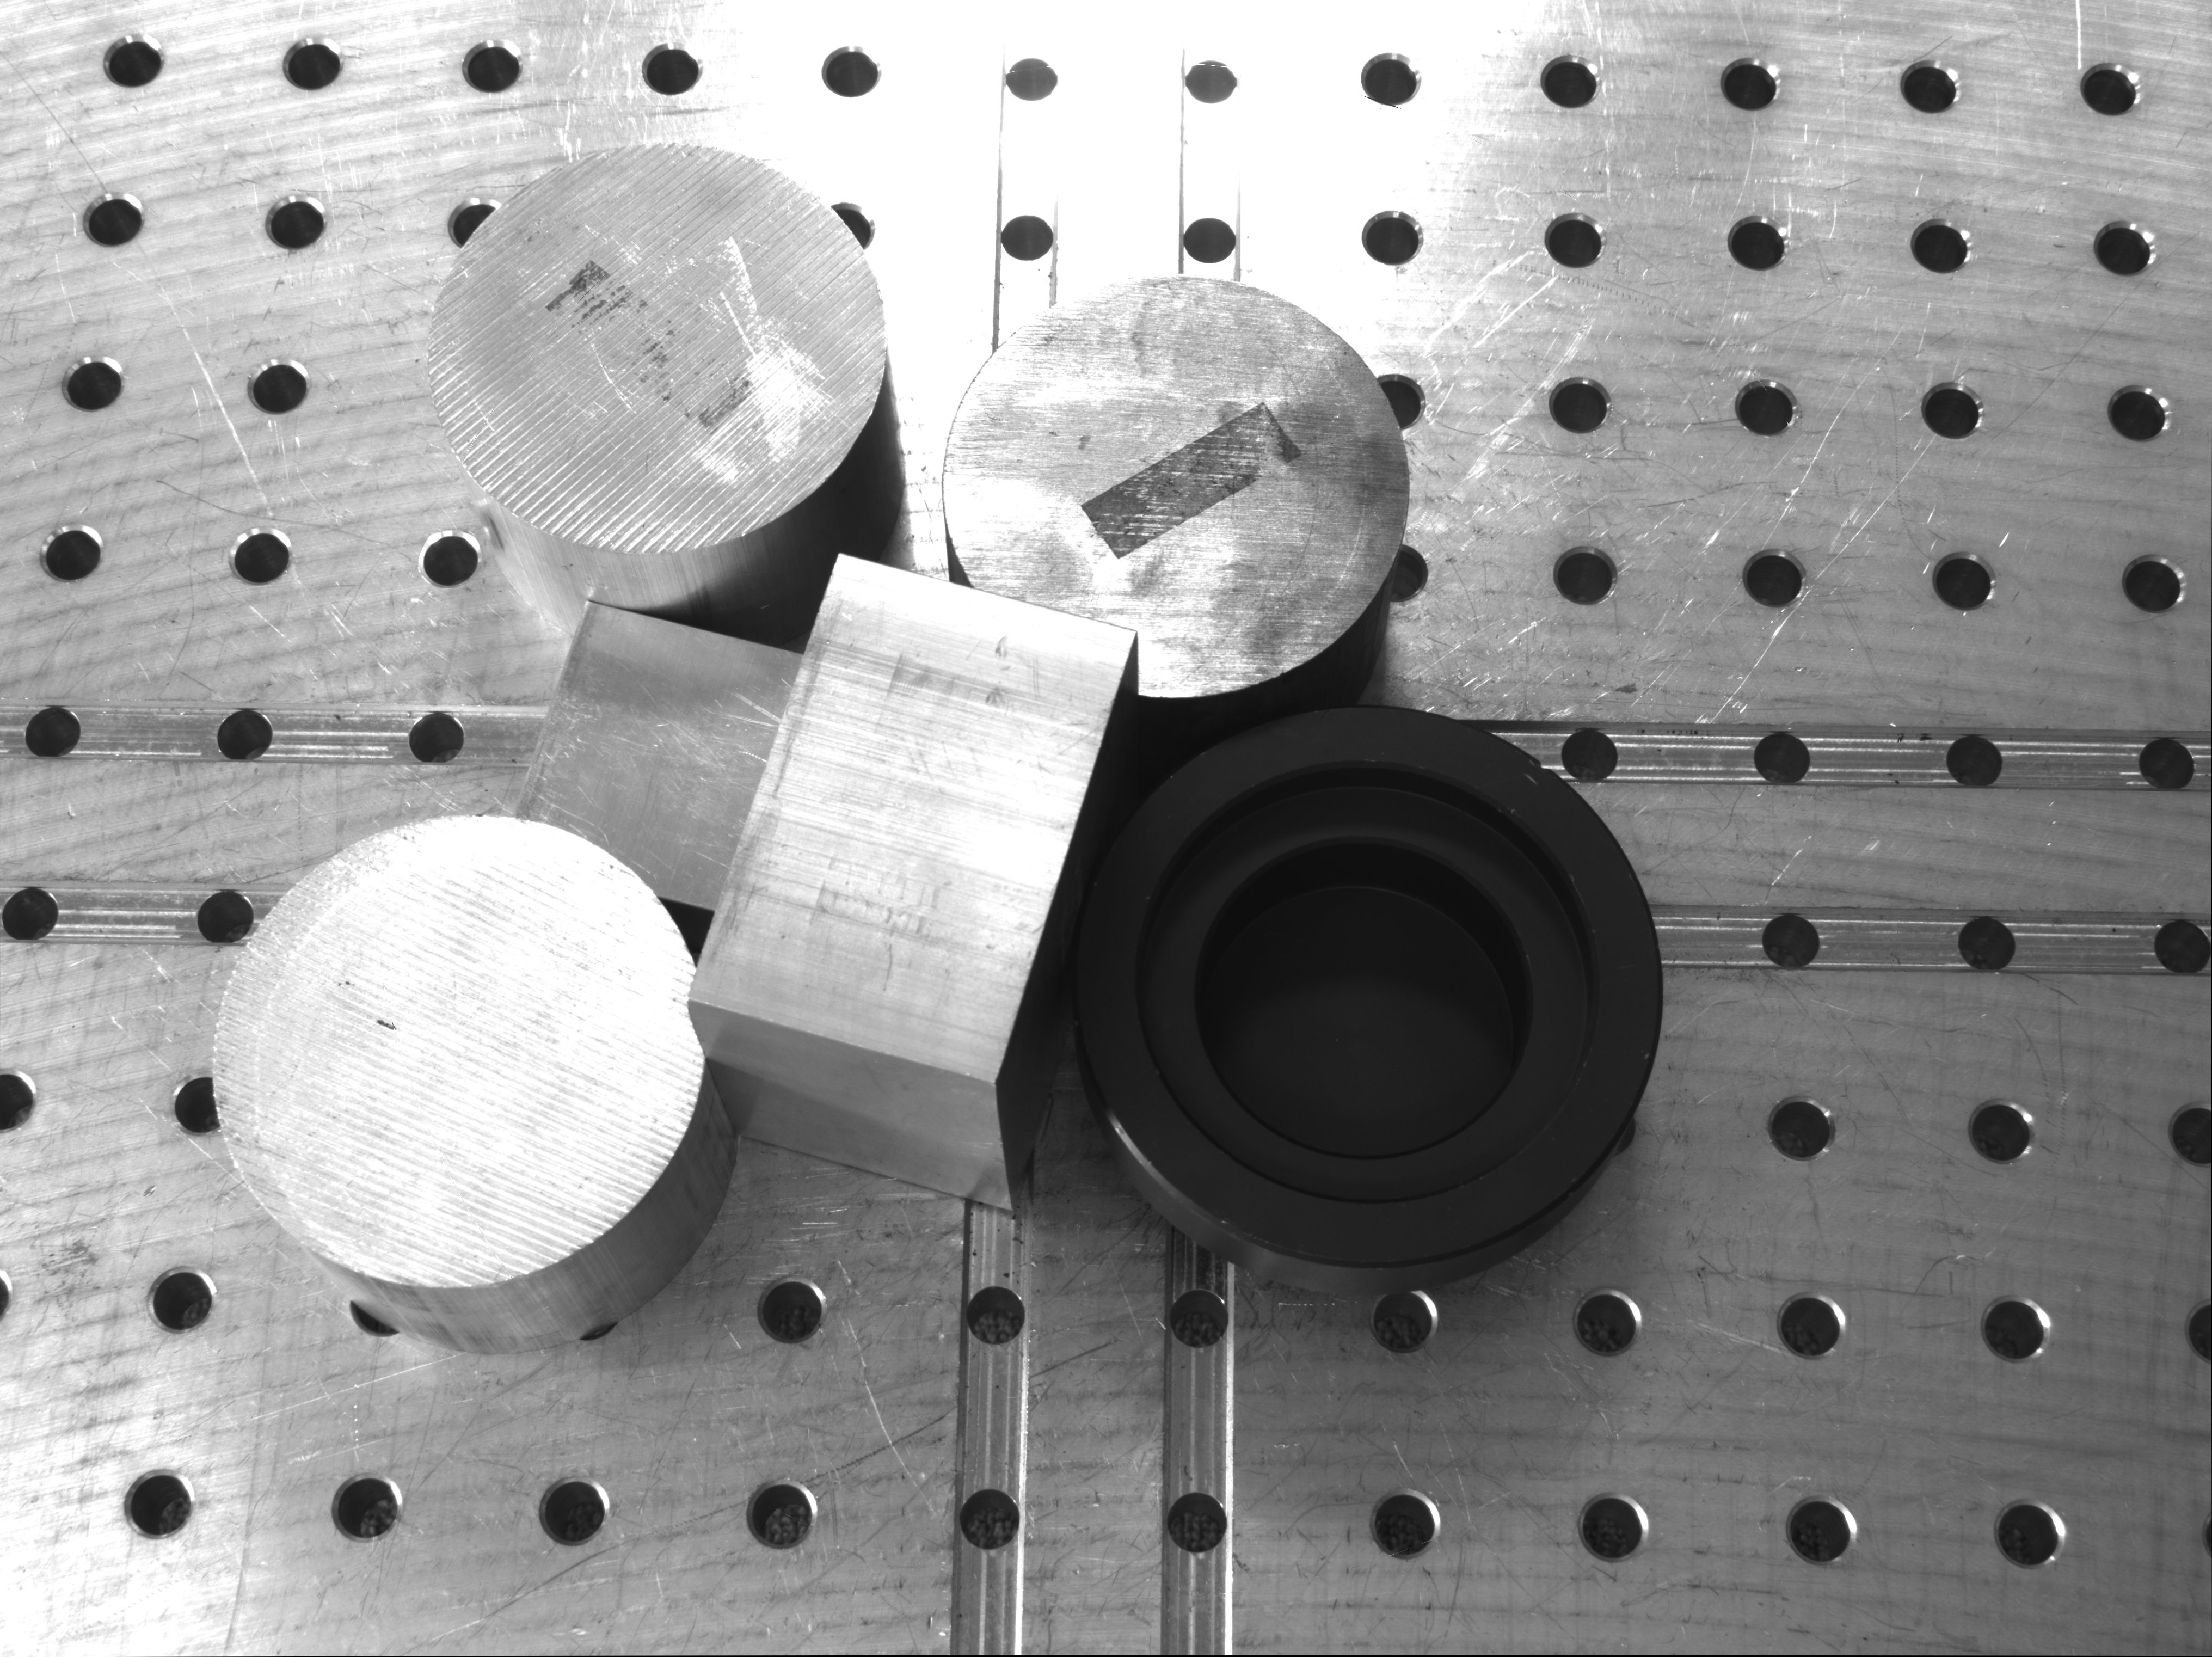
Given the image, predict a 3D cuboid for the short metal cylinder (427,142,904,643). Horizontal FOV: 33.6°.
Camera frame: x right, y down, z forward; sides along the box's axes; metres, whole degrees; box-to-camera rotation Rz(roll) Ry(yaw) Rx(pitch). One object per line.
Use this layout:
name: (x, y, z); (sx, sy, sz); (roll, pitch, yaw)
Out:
short metal cylinder: (-0.078, -0.076, 0.661); (0.080, 0.050, 0.080); (0, 70, 0)

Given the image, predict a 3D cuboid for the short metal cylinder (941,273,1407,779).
short metal cylinder: (0.012, -0.051, 0.652); (0.080, 0.050, 0.080); (0, 70, 0)

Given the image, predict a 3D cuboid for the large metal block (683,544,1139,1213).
large metal block: (-0.030, 0.011, 0.611); (0.050, 0.080, 0.080); (15, 71, 6)

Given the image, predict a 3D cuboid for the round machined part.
round machined part: (0.043, 0.032, 0.626); (0.098, 0.042, 0.098); (0, 70, 0)

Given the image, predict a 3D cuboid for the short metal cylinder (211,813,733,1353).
short metal cylinder: (-0.105, 0.044, 0.617); (0.080, 0.050, 0.080); (0, 70, 0)

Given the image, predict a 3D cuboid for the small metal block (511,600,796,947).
small metal block: (-0.075, -0.007, 0.649); (0.050, 0.025, 0.050); (14, 70, 5)
